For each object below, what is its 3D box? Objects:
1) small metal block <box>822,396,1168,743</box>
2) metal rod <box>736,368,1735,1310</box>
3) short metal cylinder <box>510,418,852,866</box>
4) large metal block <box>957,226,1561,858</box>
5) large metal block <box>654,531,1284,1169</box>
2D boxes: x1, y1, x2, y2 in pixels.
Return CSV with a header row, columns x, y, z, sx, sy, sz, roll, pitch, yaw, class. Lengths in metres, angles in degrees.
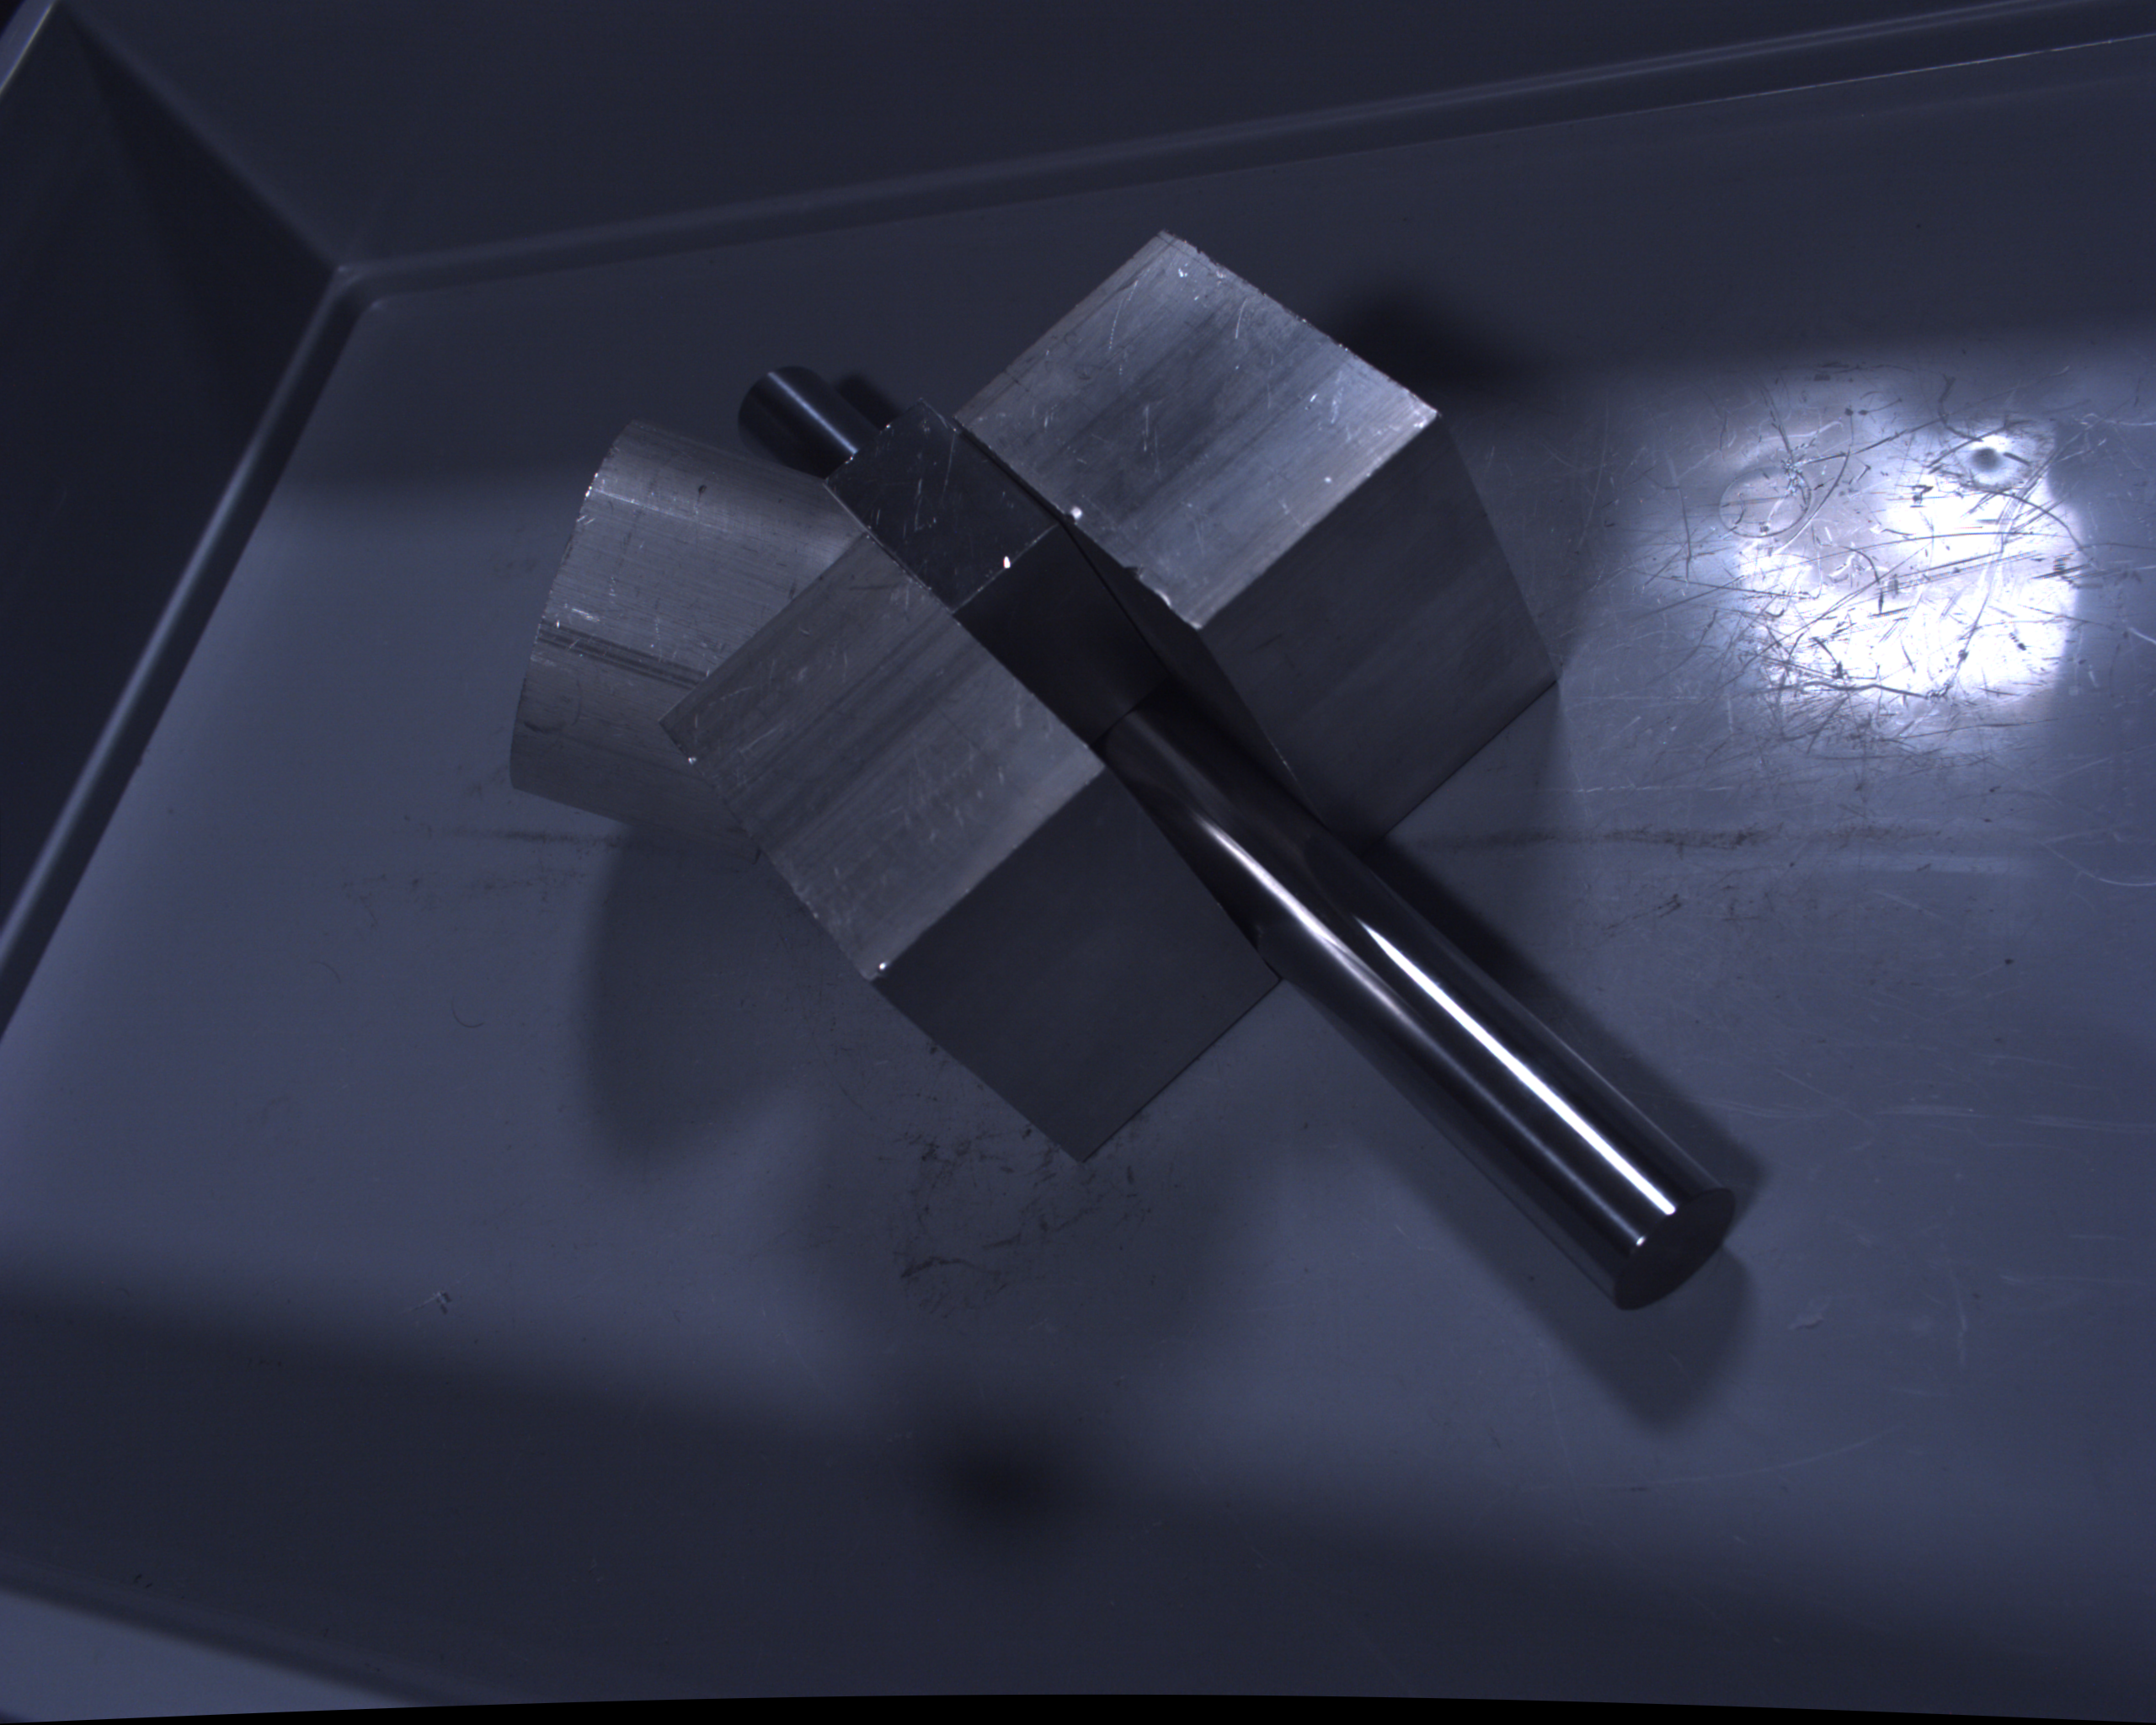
x,y,z,sx,sy,sz,roll,pitch,yaw,class
-0.015,-0.054,0.398,0.025,0.050,0.050,-42,51,0,small metal block
0.010,-0.025,0.414,0.025,0.025,0.300,-43,51,-2,metal rod
-0.078,-0.045,0.427,0.050,0.080,0.080,18,66,-7,short metal cylinder
0.035,-0.058,0.386,0.050,0.080,0.080,-42,51,-1,large metal block
-0.019,-0.001,0.379,0.050,0.080,0.080,-43,51,-1,large metal block
